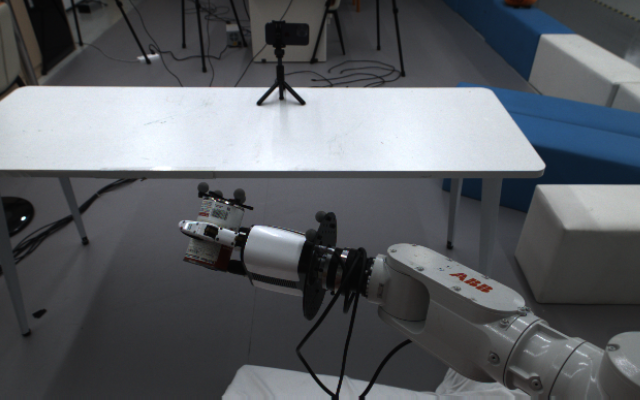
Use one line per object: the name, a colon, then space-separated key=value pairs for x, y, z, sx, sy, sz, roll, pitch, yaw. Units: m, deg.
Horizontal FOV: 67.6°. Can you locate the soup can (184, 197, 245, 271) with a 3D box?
soup can: x=-0.163 y=0.055 z=0.742 sx=0.067 sy=0.067 sz=0.101 roll=12 pitch=77 yaw=15
